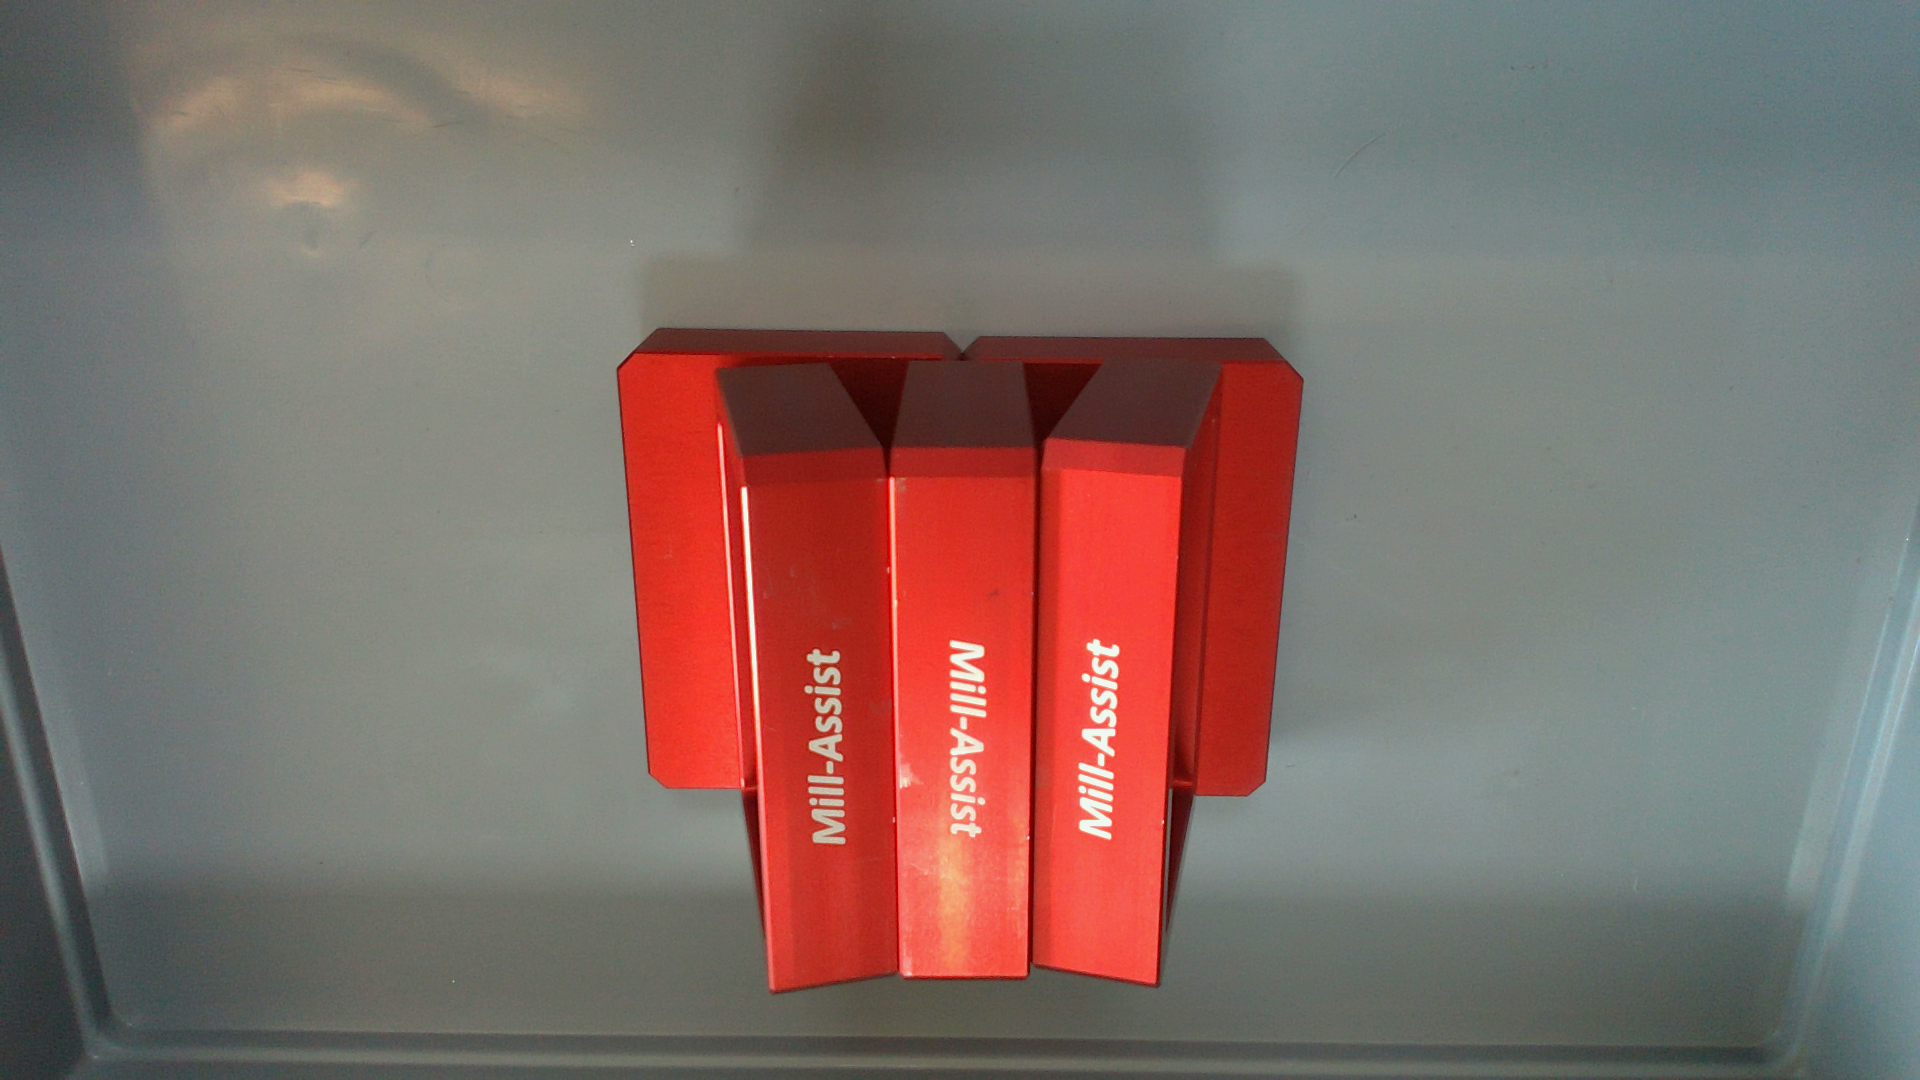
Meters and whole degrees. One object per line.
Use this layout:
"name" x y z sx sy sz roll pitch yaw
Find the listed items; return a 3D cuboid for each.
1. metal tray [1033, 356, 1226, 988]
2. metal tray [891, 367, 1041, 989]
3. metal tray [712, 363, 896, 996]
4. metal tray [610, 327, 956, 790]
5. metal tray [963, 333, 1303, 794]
"metal tray" 0.042 0.028 0.334 0.030 0.090 0.130 5 111 13
"metal tray" 0.002 0.030 0.336 0.030 0.090 0.130 0 108 0
"metal tray" -0.039 0.030 0.334 0.030 0.090 0.130 -4 111 -12
"metal tray" -0.046 0.007 0.391 0.090 0.030 0.130 0 110 0
"metal tray" 0.045 0.008 0.393 0.090 0.030 0.130 0 110 0
